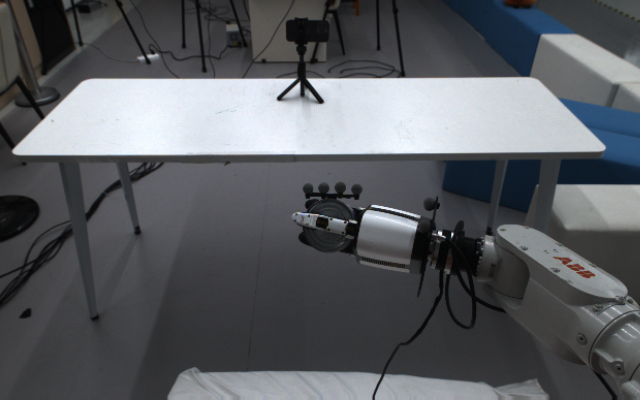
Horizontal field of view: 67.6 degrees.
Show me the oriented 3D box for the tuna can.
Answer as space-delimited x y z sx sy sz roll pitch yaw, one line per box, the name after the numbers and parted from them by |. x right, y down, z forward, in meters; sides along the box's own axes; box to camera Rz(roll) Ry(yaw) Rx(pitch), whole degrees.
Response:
0.019 0.041 0.769 0.085 0.085 0.034 13 -2 15 | tuna can
